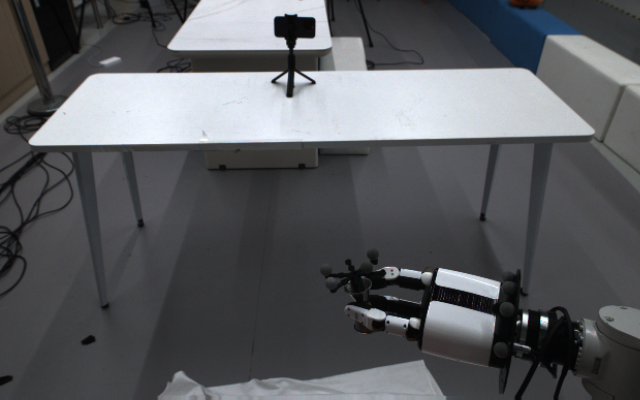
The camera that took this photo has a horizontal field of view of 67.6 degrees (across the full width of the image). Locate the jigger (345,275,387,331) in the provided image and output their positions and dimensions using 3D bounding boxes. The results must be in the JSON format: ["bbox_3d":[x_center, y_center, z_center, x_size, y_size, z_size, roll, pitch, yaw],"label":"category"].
[{"bbox_3d":[0.062,0.147,0.682,0.043,0.071,0.043,-14,21,6],"label":"jigger"}]
